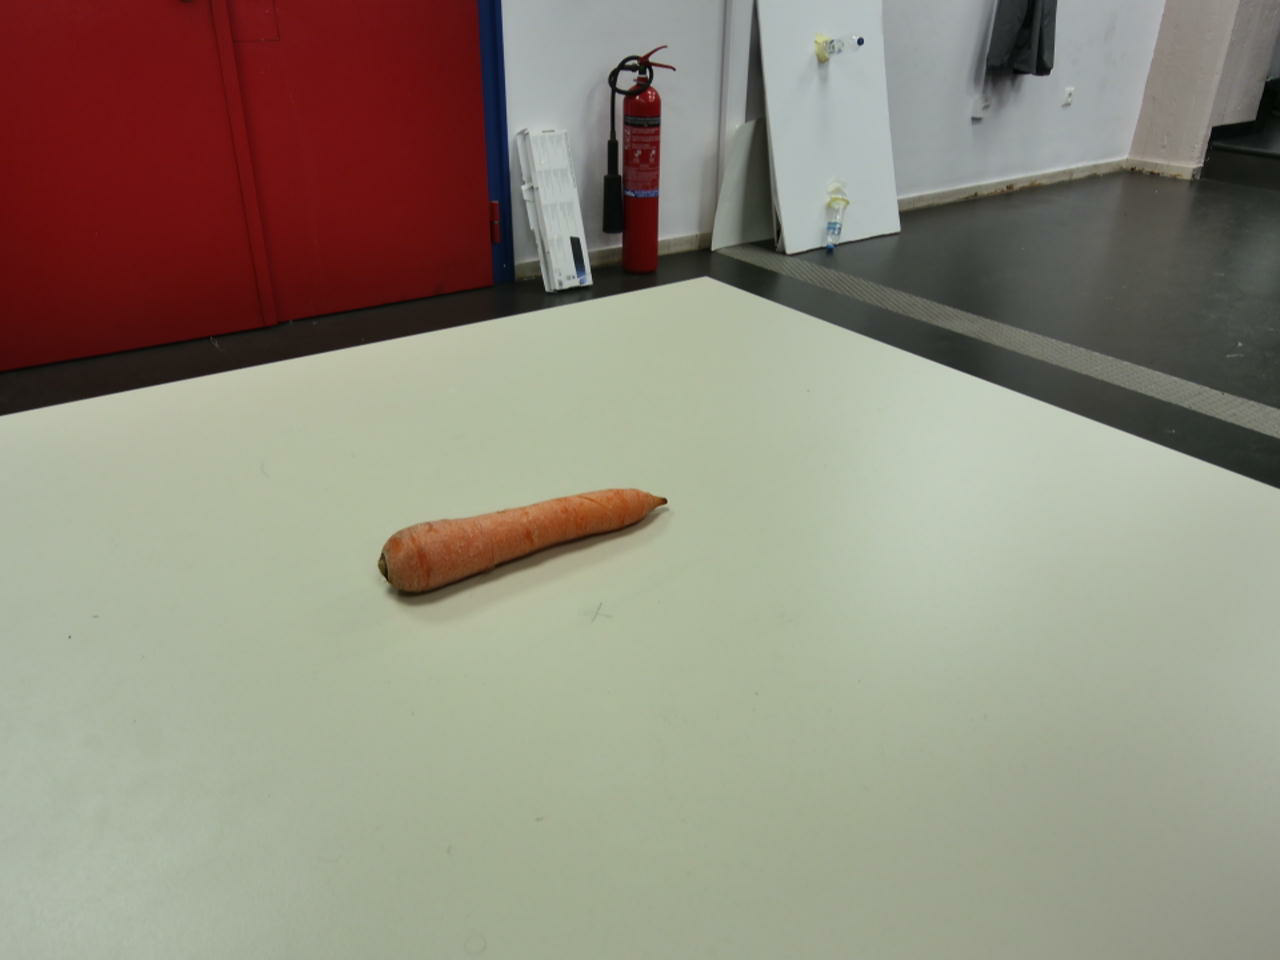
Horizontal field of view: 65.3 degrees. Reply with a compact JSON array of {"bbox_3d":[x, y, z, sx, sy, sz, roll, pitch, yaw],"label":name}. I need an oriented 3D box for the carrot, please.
[{"bbox_3d":[-0.064,0.026,0.606,0.196,0.041,0.039,-17,31,-32],"label":"carrot"}]
